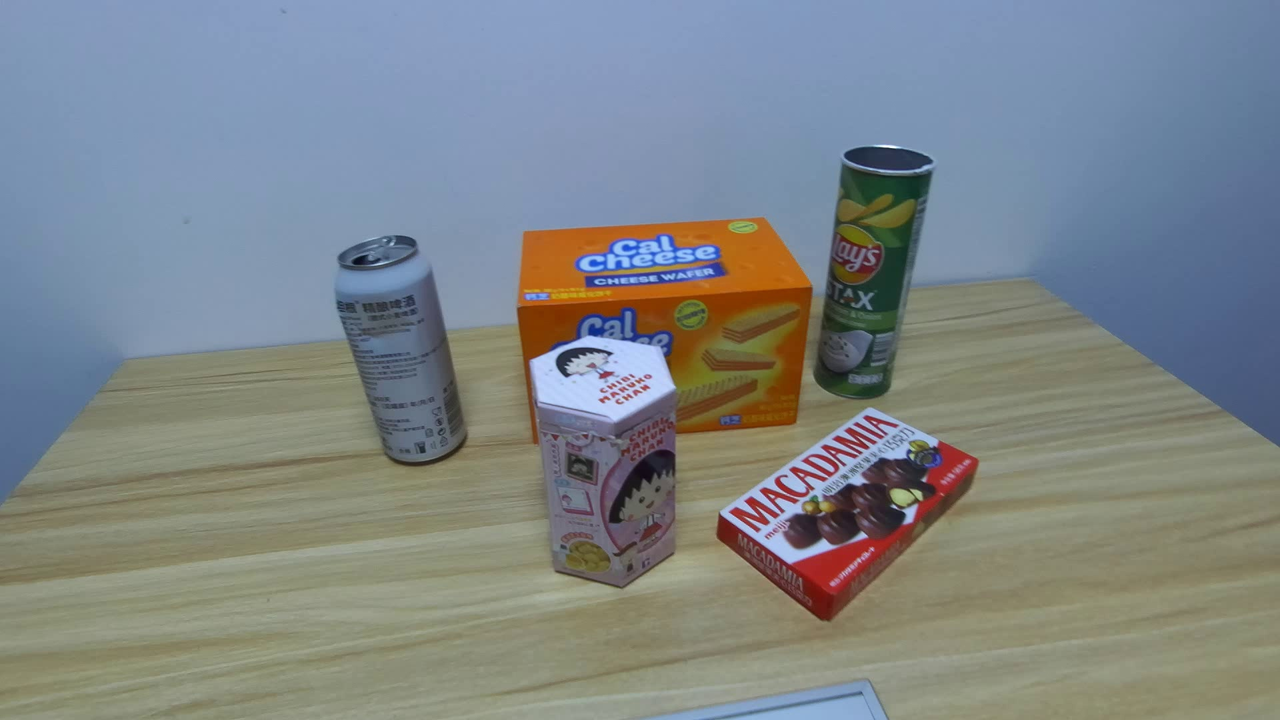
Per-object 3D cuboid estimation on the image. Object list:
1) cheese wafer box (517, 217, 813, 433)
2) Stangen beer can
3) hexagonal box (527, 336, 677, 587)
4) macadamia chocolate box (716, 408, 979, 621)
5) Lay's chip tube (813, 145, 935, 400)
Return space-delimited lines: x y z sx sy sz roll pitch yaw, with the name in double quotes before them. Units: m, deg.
"cheese wafer box" 0.015 -0.030 0.601 0.222 0.129 0.148 -4 33 -5
"Stangen beer can" -0.178 -0.007 0.531 0.070 0.173 0.069 -14 32 -18
"hexagonal box" -0.020 0.064 0.444 0.091 0.136 0.083 -26 40 -34
"macadamia chocolate box" 0.148 0.096 0.492 0.178 0.027 0.095 -26 40 -33
"Lay's chip tube" 0.191 -0.069 0.587 0.071 0.203 0.071 -1 32 1
